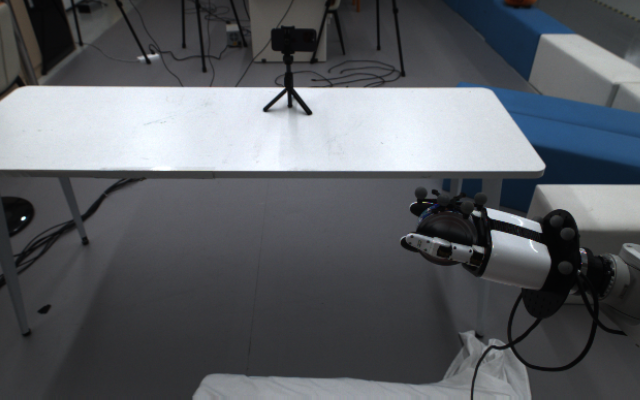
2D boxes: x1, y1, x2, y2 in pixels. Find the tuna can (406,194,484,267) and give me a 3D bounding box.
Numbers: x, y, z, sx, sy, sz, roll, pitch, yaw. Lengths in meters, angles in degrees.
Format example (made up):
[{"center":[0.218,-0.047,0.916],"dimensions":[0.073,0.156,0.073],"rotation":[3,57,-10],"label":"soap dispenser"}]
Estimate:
[{"center":[0.180,0.046,0.689],"dimensions":[0.085,0.085,0.034],"rotation":[9,24,10],"label":"tuna can"}]
